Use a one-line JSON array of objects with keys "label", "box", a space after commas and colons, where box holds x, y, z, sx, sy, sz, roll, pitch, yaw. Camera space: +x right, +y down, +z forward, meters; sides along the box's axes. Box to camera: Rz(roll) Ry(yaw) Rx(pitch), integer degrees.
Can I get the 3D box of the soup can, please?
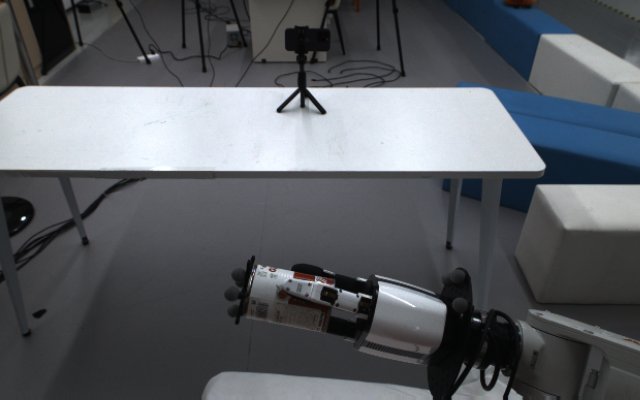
[{"label": "soup can", "box": [-0.034, 0.121, 0.597, 0.101, 0.067, 0.067, 11, 35, -2]}]
